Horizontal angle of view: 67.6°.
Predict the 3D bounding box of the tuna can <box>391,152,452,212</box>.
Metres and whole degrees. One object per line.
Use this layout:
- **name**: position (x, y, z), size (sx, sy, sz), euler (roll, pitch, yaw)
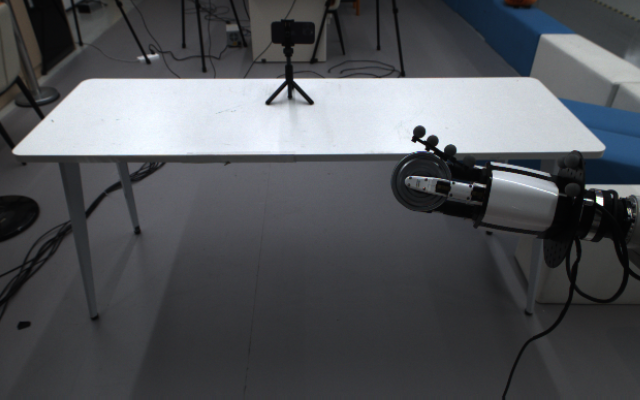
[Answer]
- **tuna can**: position (0.148, -0.020, 0.684), size (0.085, 0.085, 0.034), euler (13, 4, 15)
